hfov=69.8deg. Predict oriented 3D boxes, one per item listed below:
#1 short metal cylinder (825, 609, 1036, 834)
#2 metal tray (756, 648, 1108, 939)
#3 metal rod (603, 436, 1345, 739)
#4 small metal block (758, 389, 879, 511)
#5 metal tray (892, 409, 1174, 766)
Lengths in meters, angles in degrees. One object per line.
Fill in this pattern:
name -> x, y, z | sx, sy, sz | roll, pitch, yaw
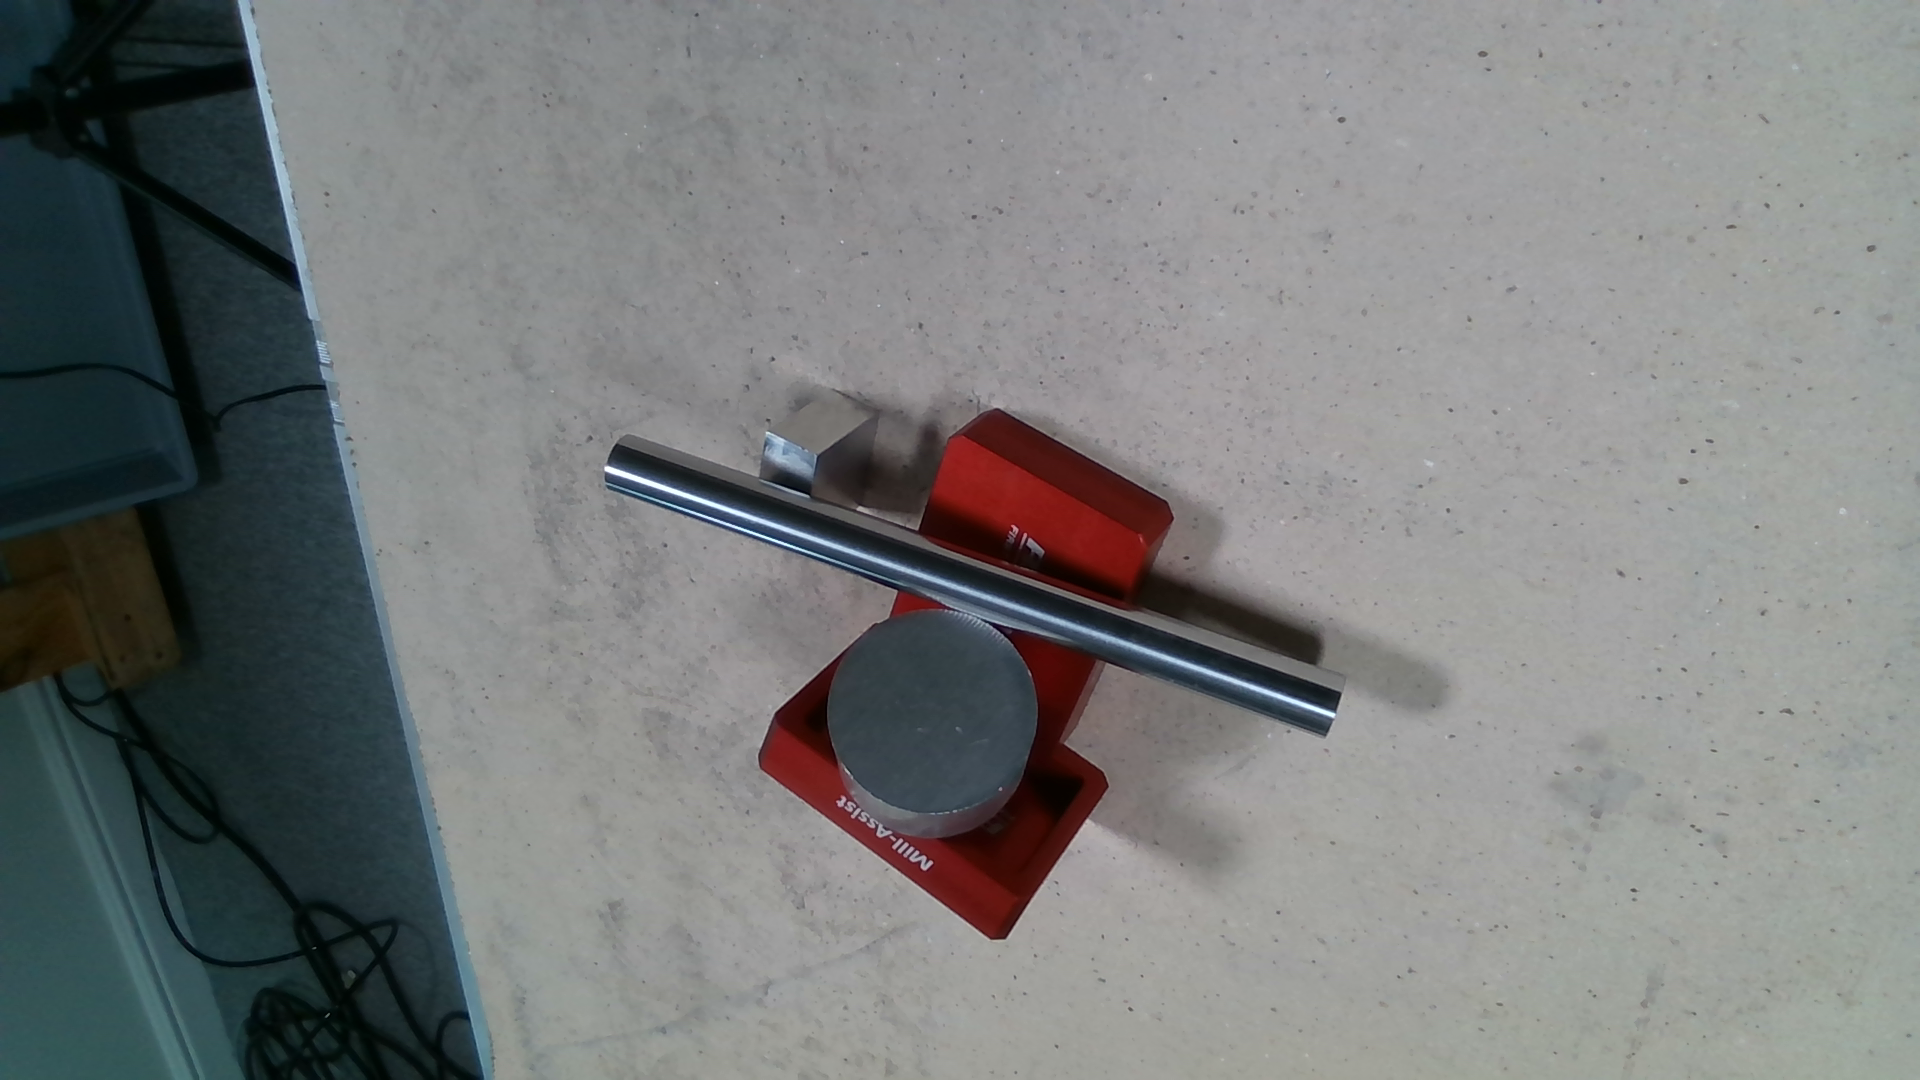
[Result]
short metal cylinder -> -0.012, 0.073, 0.544 | 0.080, 0.080, 0.050 | 34, 161, 11
metal tray -> -0.011, 0.101, 0.600 | 0.130, 0.090, 0.030 | 34, 128, 12
metal rod -> -0.001, 0.015, 0.539 | 0.300, 0.025, 0.025 | 18, 124, 11
small metal block -> -0.062, -0.030, 0.585 | 0.025, 0.050, 0.050 | 26, 126, 18
metal tray -> 0.023, 0.022, 0.574 | 0.090, 0.030, 0.130 | 30, 127, 14
